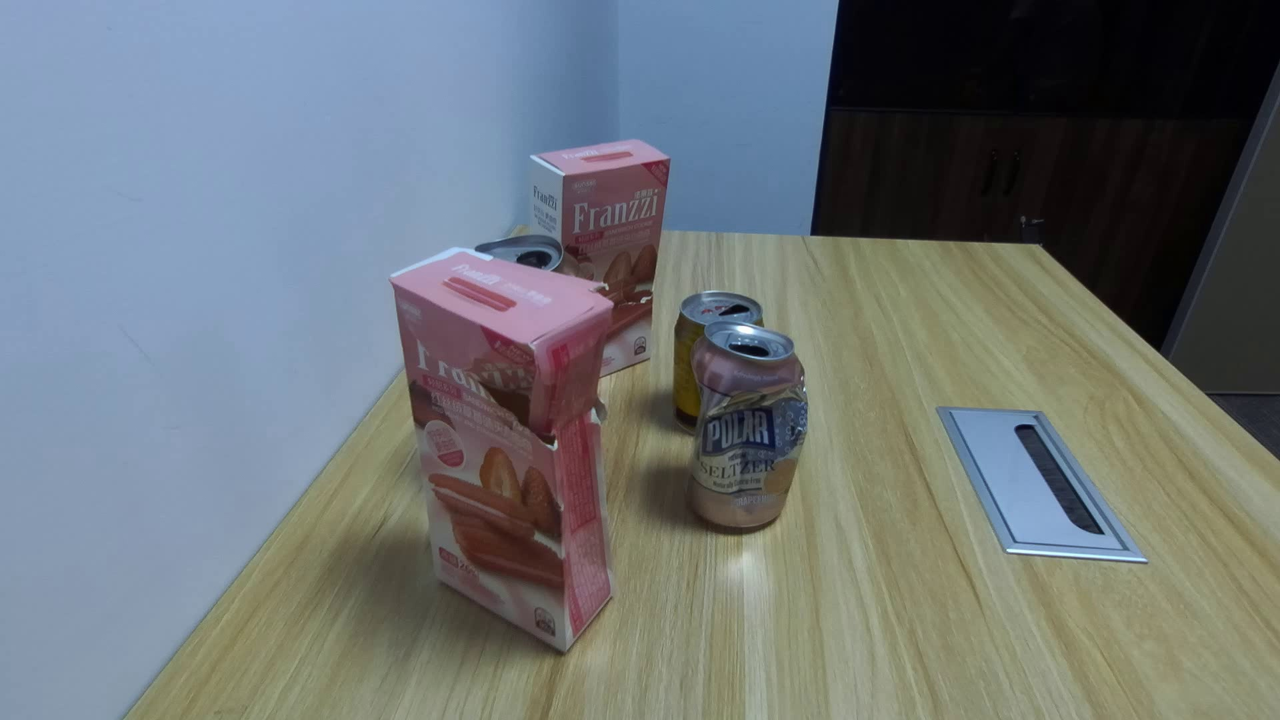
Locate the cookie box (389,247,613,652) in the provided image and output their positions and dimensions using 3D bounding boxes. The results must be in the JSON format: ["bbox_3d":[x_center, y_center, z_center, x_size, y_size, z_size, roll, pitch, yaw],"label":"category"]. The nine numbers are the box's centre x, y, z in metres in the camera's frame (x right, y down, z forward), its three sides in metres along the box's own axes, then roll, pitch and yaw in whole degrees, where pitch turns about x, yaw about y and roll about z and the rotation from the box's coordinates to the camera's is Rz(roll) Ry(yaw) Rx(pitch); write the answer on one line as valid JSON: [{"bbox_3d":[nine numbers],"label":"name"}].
[{"bbox_3d":[-0.063,0.048,0.354,0.104,0.186,0.059,19,35,30],"label":"cookie box"}]

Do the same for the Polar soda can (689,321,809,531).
[{"bbox_3d":[0.066,0.039,0.434,0.071,0.122,0.066,-1,26,-3],"label":"Polar soda can"}]

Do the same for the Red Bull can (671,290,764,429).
[{"bbox_3d":[0.059,0.004,0.523,0.069,0.092,0.069,1,32,0],"label":"Red Bull can"}]

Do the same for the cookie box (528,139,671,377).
[{"bbox_3d":[-0.030,-0.073,0.564,0.105,0.187,0.048,-19,42,-31],"label":"cookie box"}]
